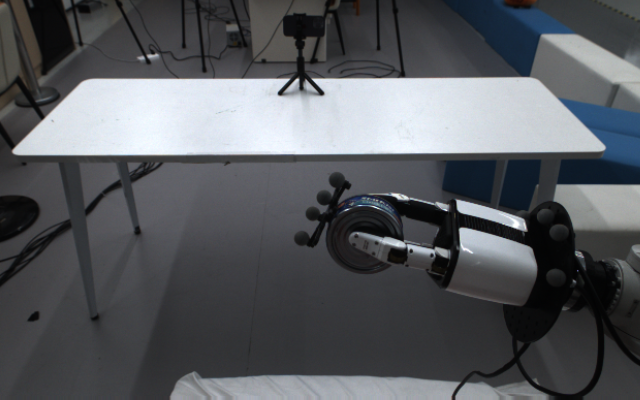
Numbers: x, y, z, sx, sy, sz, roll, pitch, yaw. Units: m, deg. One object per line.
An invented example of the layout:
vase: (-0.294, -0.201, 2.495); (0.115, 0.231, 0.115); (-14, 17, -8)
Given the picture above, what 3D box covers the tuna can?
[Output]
tuna can: (0.053, 0.036, 0.541); (0.085, 0.085, 0.034); (3, 20, 1)
